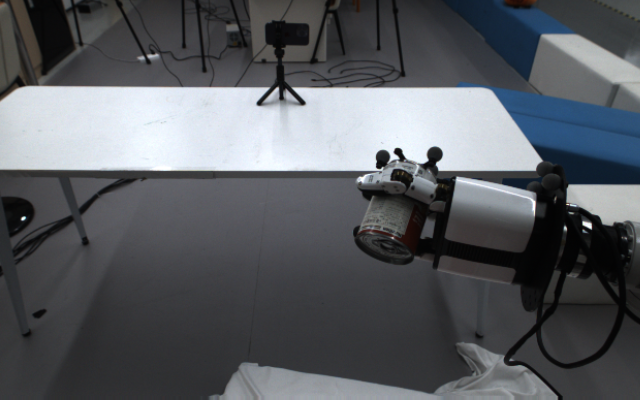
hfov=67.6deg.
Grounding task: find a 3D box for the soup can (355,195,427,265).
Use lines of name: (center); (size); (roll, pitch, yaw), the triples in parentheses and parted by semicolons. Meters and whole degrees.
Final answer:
soup can: (0.090, 0.012, 0.553); (0.067, 0.067, 0.101); (15, 64, 18)
